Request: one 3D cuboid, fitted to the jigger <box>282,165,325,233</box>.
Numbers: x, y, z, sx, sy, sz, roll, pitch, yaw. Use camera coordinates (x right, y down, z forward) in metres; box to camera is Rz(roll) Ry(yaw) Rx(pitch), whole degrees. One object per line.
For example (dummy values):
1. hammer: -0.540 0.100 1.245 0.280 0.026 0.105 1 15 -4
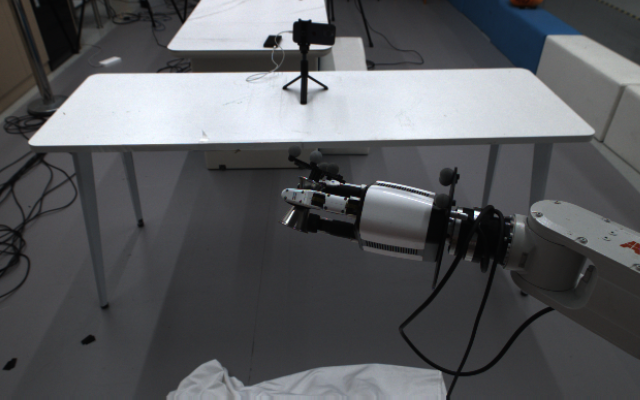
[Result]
1. jigger: -0.025 0.005 0.651 0.043 0.071 0.043 24 -3 1
